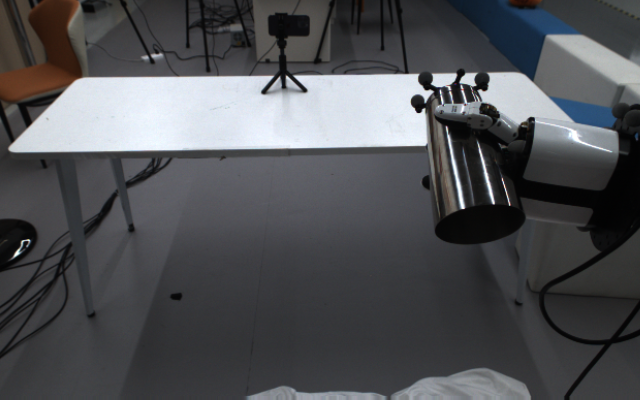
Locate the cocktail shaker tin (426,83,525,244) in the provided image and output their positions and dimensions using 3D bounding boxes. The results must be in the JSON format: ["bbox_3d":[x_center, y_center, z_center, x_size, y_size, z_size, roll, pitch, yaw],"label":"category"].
[{"bbox_3d":[0.164,-0.047,0.543,0.093,0.093,0.170,0,59,-3],"label":"cocktail shaker tin"}]
